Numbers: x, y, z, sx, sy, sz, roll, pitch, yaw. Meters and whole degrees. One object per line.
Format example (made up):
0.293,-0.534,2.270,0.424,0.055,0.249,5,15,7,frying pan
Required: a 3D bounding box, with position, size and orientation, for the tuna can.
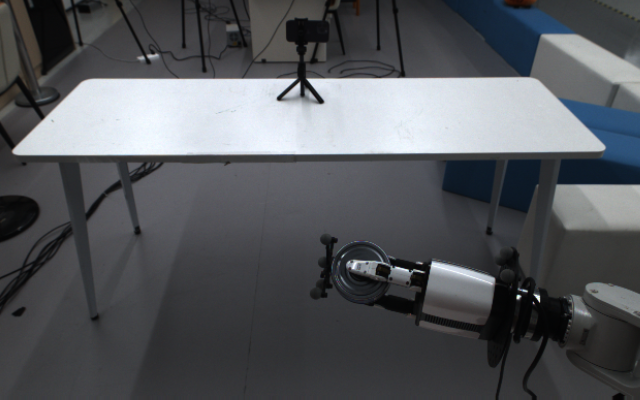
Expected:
0.062,0.104,0.678,0.085,0.034,0.085,-2,69,6,tuna can
